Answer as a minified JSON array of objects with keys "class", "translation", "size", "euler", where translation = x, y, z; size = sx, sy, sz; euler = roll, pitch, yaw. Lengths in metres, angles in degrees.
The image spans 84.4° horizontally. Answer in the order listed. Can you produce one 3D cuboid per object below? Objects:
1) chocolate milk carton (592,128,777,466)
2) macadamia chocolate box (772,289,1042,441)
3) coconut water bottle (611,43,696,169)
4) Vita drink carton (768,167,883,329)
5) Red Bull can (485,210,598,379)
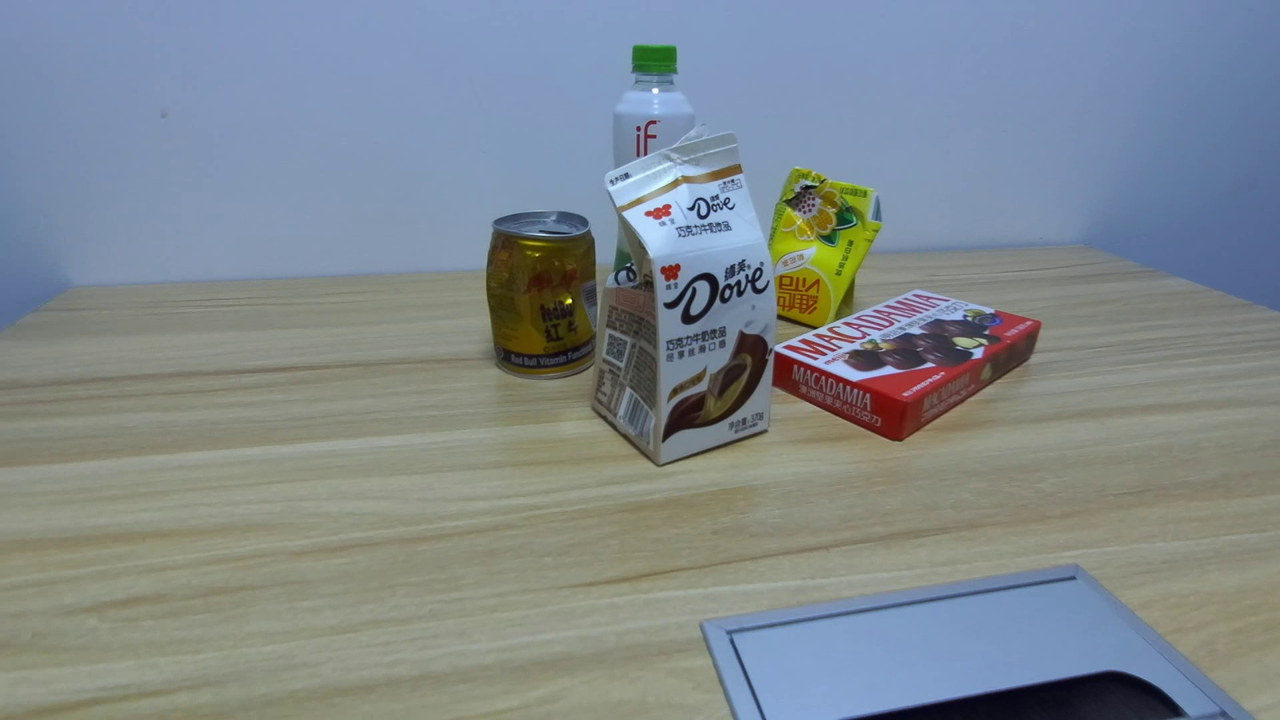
[{"class":"chocolate milk carton","translation":[0.023,-0.037,0.360],"size":[0.076,0.155,0.073],"euler":[-13,26,-28]},{"class":"macadamia chocolate box","translation":[0.174,-0.005,0.455],"size":[0.178,0.027,0.095],"euler":[-19,31,-38]},{"class":"coconut water bottle","translation":[0.011,-0.126,0.514],"size":[0.063,0.188,0.063],"euler":[-1,20,0]},{"class":"Vita drink carton","translation":[0.134,-0.083,0.530],"size":[0.086,0.108,0.042],"euler":[22,17,32]},{"class":"Red Bull can","translation":[-0.060,-0.042,0.446],"size":[0.072,0.092,0.072],"euler":[2,24,-1]}]
